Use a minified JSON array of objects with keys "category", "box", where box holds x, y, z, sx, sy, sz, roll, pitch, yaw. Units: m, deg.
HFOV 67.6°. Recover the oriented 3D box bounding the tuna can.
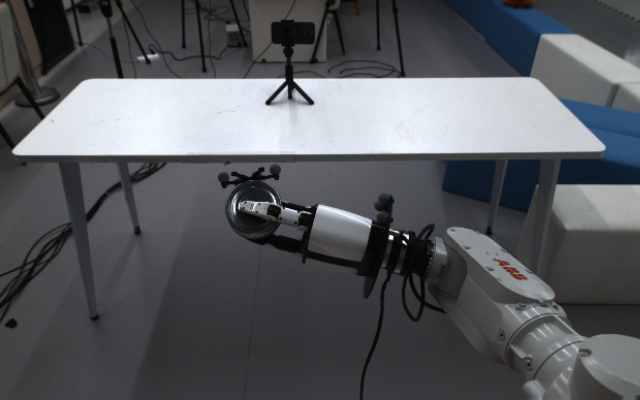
[{"category":"tuna can","box":[-0.095,0.020,0.723,0.085,0.034,0.085,0,72,-1]}]
